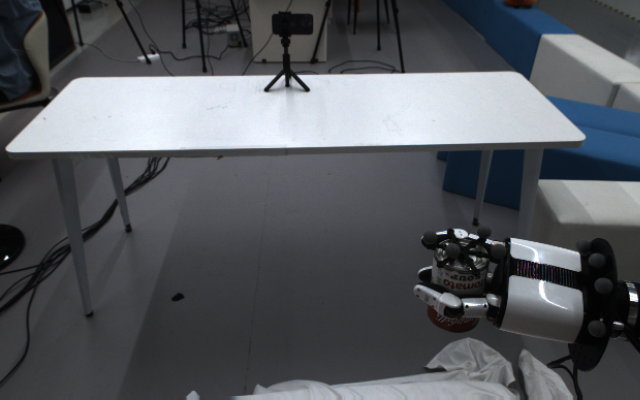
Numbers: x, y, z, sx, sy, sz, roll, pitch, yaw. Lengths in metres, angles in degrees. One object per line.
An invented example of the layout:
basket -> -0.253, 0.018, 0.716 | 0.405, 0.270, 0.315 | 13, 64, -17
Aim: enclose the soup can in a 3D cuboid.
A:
soup can -> 0.177, 0.108, 0.617 | 0.067, 0.101, 0.067 | -2, 32, 1
